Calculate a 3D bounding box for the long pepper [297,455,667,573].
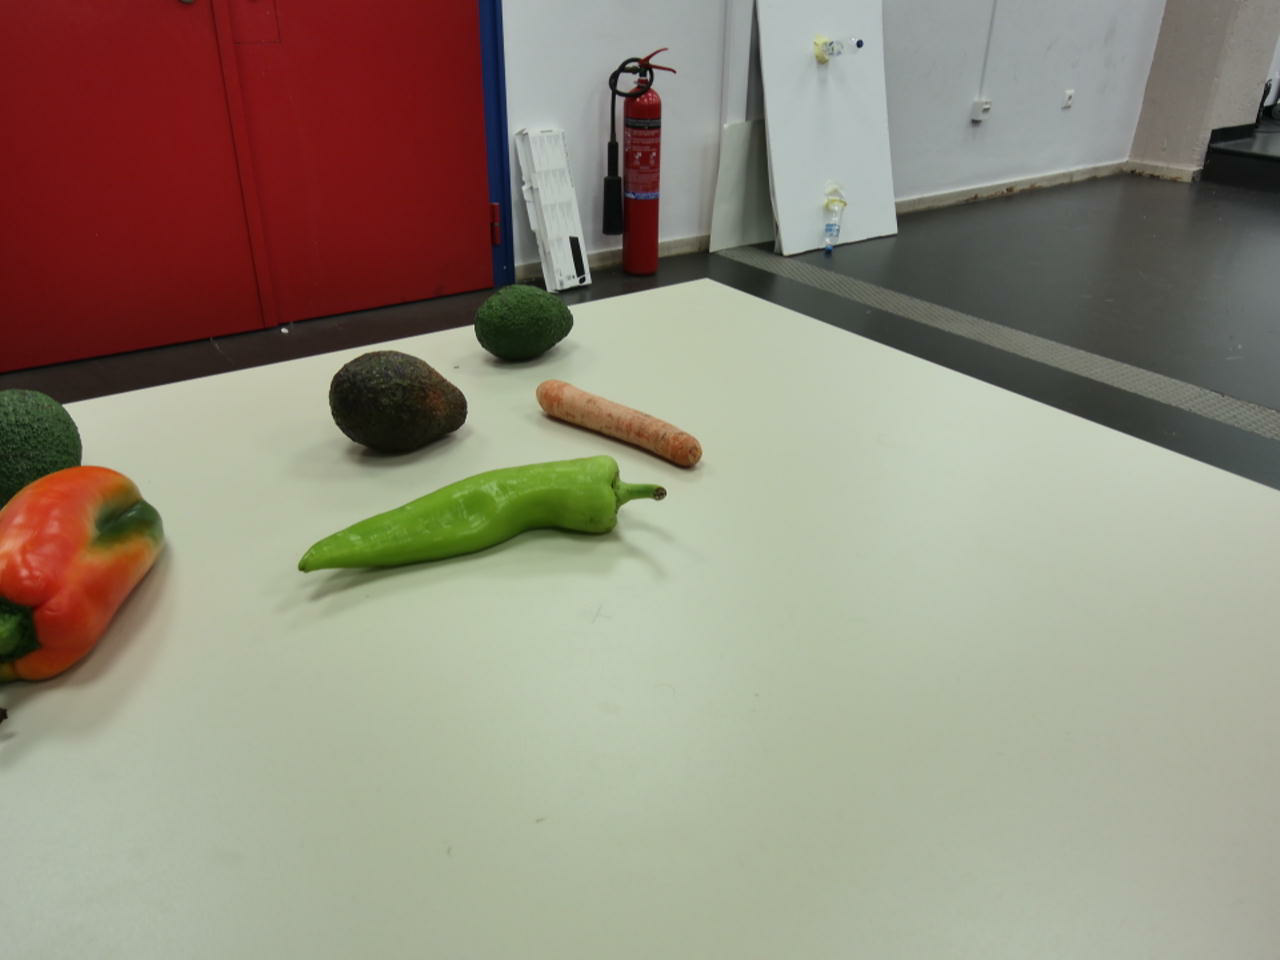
[{"bbox_3d":[-0.090,0.019,0.572,0.204,0.045,0.065,-9,27,-19],"label":"long pepper"}]
